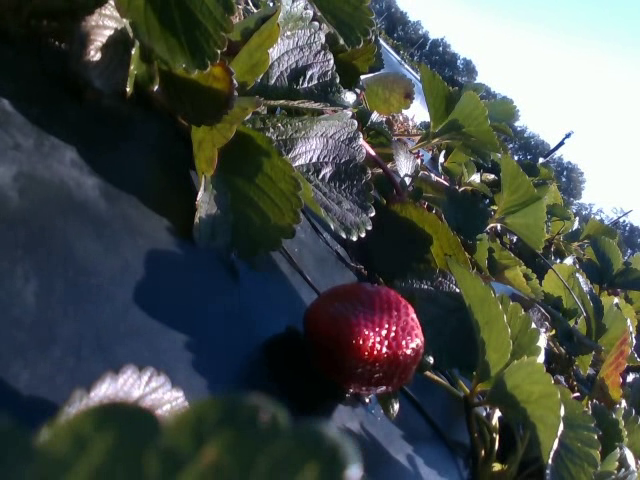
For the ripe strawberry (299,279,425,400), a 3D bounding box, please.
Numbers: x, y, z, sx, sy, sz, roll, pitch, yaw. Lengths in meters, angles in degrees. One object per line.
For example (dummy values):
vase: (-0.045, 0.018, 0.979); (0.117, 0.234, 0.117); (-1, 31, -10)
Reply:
ripe strawberry: (0.011, 0.031, 0.186); (0.044, 0.042, 0.055); (1, -9, 19)
